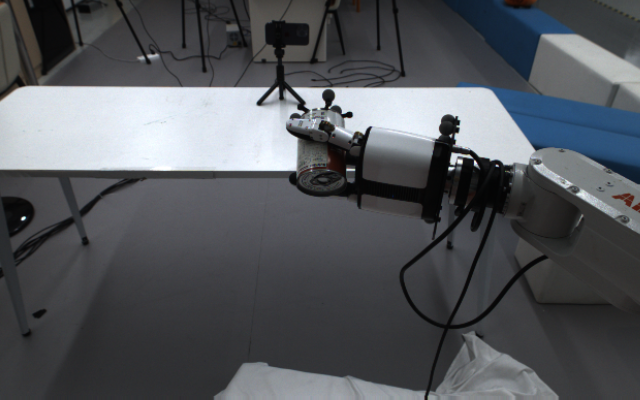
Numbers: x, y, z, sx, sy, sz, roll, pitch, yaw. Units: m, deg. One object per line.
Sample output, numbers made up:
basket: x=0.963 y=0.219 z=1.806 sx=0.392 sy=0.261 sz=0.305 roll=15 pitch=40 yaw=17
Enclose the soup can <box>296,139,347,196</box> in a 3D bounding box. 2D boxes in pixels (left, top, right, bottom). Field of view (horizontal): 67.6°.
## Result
soup can: x=0.003 y=-0.065 z=0.654 sx=0.067 sy=0.067 sz=0.101 roll=1 pitch=61 yaw=-2
